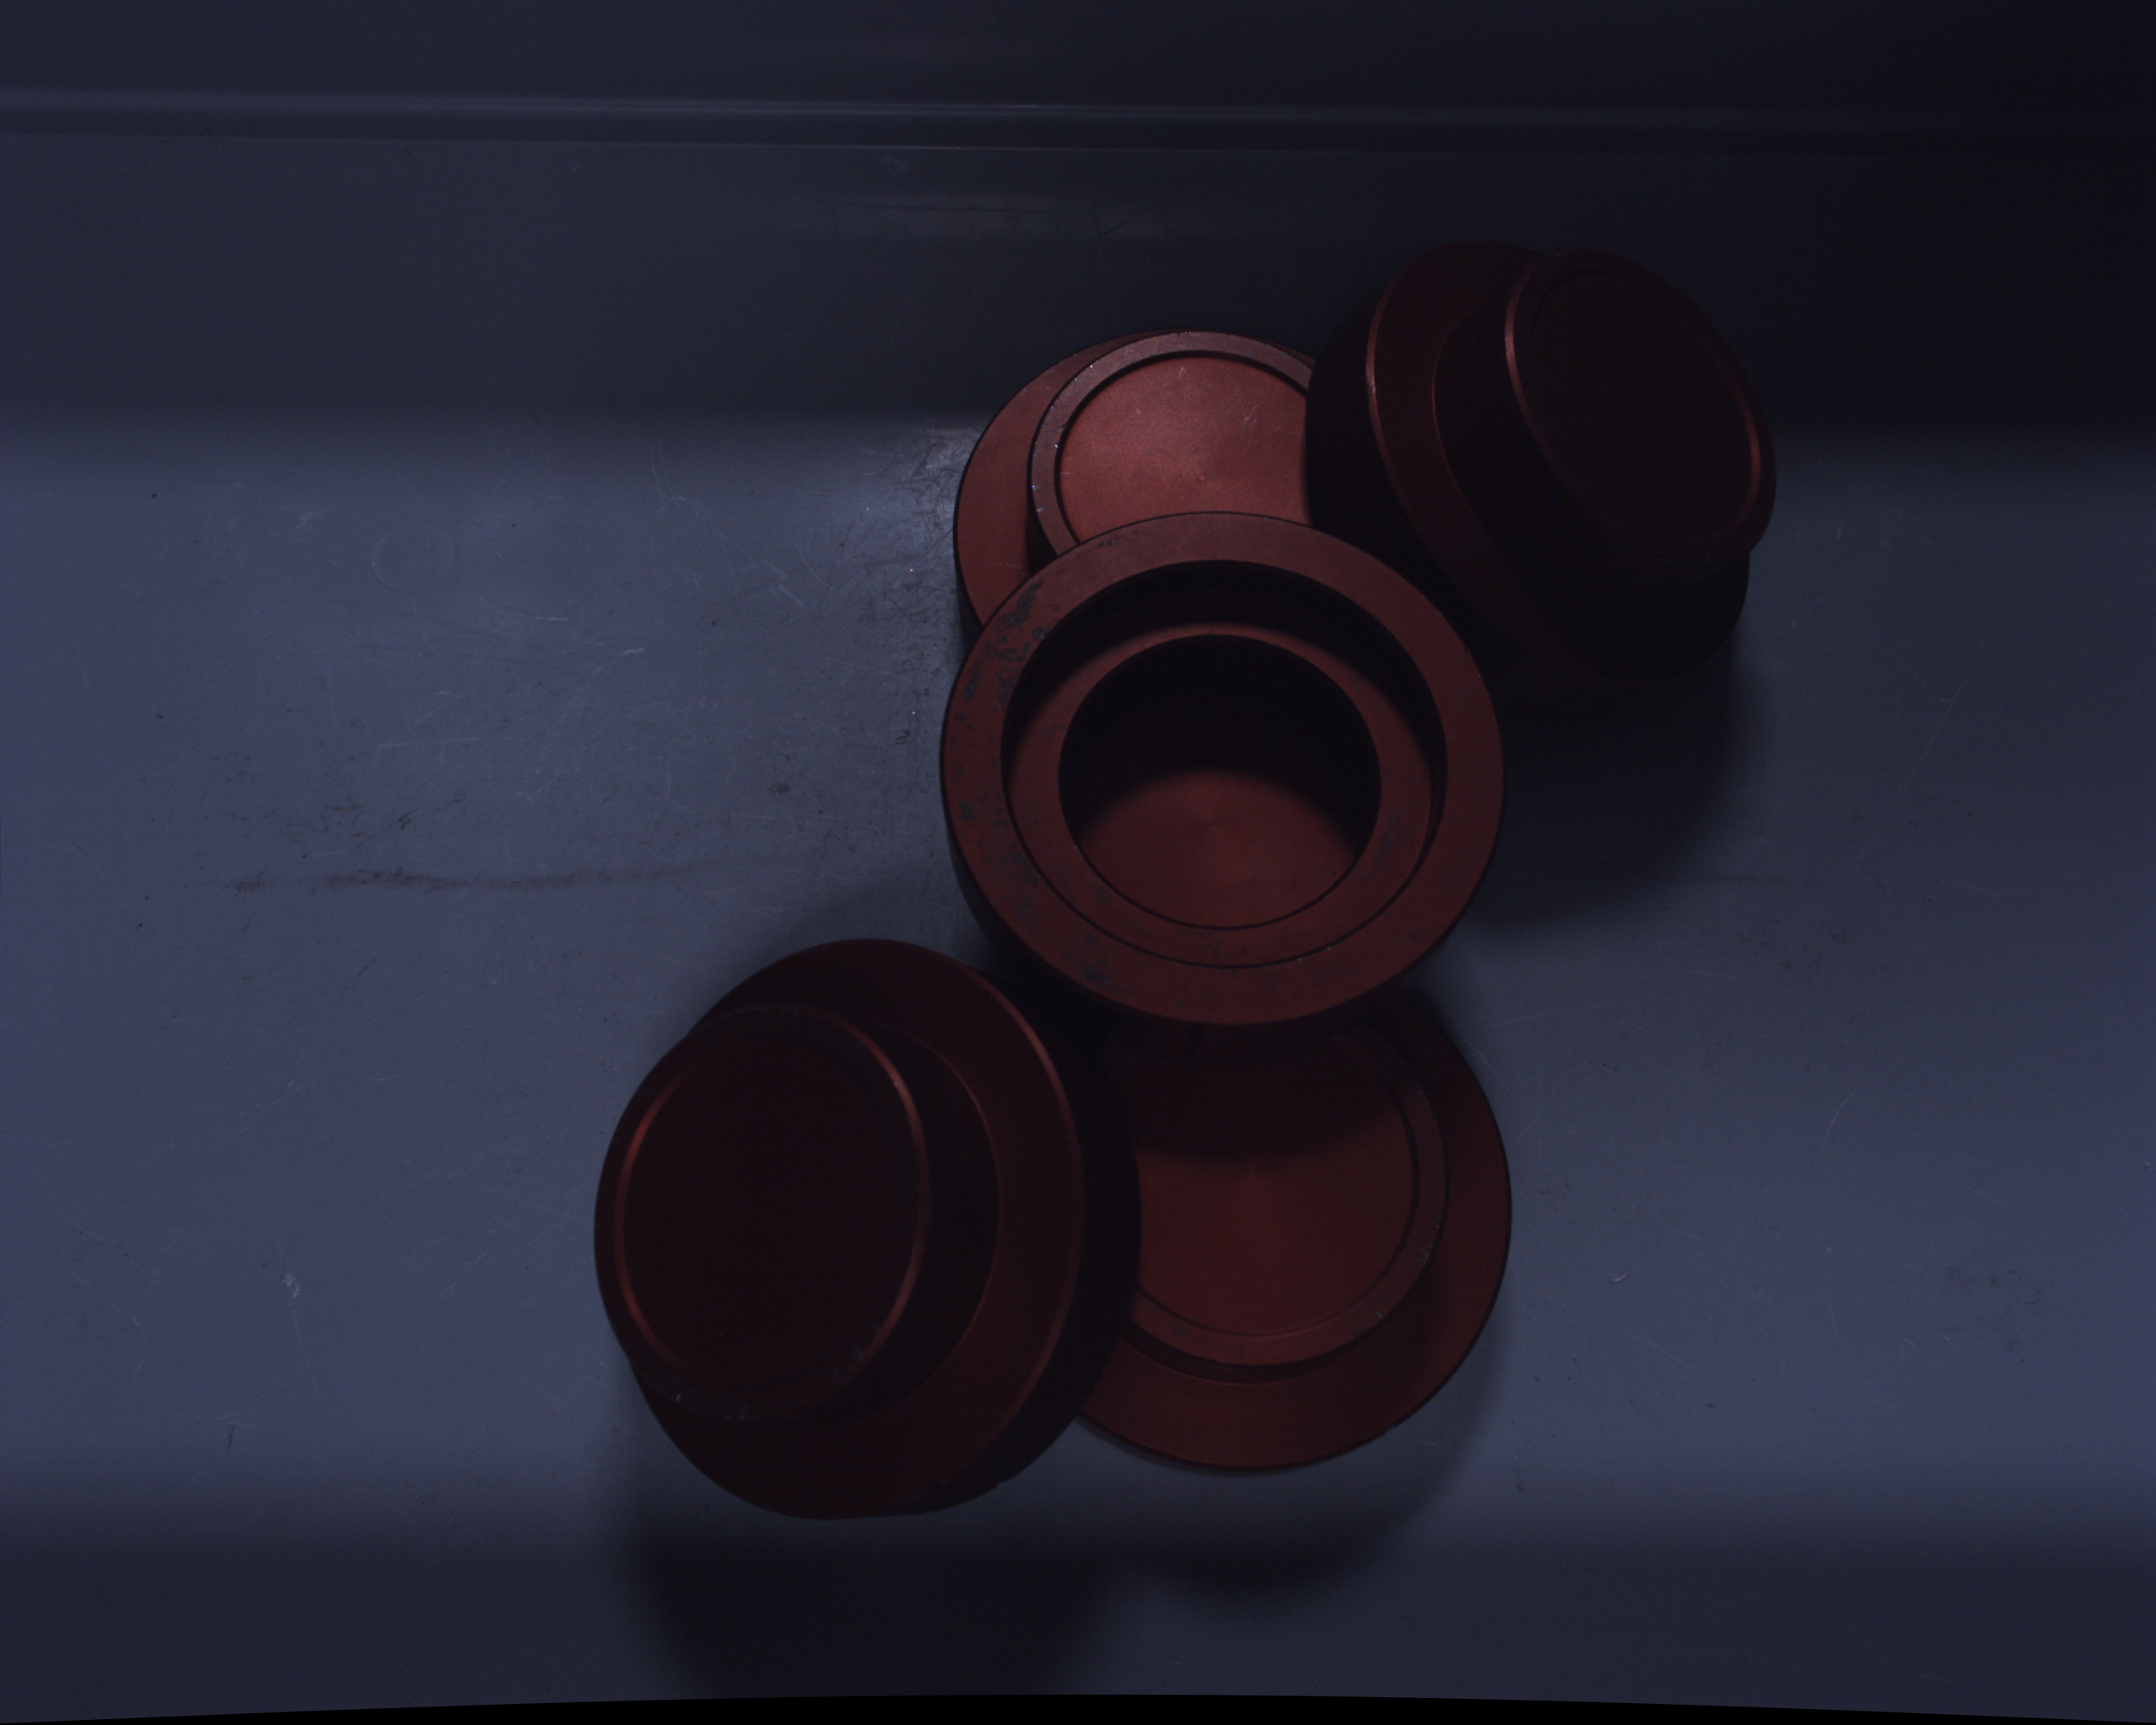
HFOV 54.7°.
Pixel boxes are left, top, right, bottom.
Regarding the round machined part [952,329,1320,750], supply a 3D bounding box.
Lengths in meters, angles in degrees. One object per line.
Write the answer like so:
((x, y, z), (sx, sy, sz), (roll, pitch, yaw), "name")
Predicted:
((0.024, -0.068, 0.424), (0.099, 0.042, 0.098), (0, 70, -1), "round machined part")

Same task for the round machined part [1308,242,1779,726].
((0.097, -0.079, 0.406), (0.099, 0.042, 0.098), (13, 64, -28), "round machined part")

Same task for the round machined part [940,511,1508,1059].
((0.025, -0.011, 0.380), (0.099, 0.042, 0.098), (0, 70, -1), "round machined part")

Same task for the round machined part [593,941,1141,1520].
((-0.042, 0.061, 0.354), (0.098, 0.042, 0.098), (-9, 72, 28), "round machined part")

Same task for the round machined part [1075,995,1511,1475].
((0.029, 0.059, 0.377), (0.099, 0.042, 0.098), (0, 70, -1), "round machined part")
